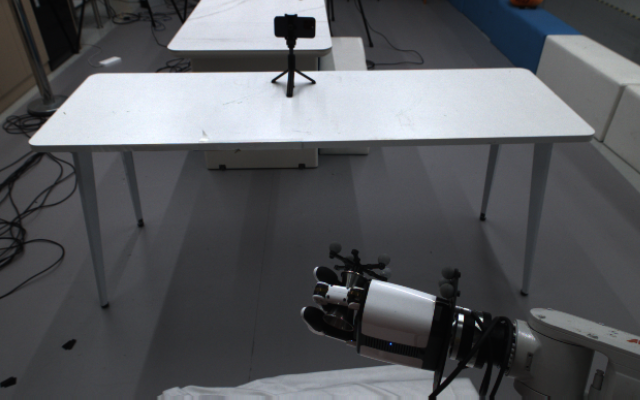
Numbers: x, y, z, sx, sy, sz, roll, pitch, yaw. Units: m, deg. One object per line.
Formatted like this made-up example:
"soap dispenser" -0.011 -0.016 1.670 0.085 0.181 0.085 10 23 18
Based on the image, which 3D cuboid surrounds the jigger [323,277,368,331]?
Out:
"jigger" 0.039 0.132 0.640 0.043 0.043 0.071 13 57 15
